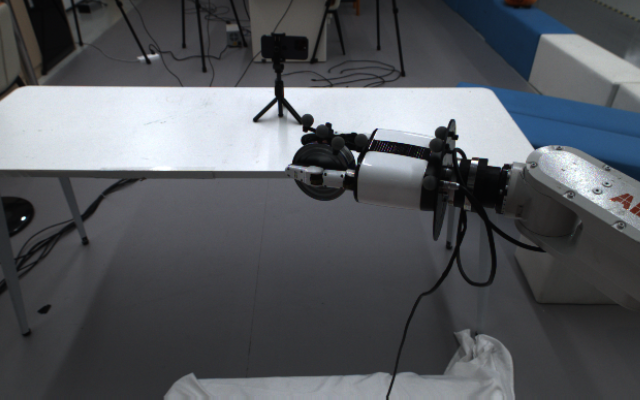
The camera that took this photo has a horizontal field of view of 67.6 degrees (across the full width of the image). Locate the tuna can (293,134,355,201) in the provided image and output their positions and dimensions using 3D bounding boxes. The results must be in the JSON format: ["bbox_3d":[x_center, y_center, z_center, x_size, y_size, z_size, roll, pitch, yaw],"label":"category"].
[{"bbox_3d":[0.008,-0.045,0.676,0.085,0.085,0.034,16,28,19],"label":"tuna can"}]
